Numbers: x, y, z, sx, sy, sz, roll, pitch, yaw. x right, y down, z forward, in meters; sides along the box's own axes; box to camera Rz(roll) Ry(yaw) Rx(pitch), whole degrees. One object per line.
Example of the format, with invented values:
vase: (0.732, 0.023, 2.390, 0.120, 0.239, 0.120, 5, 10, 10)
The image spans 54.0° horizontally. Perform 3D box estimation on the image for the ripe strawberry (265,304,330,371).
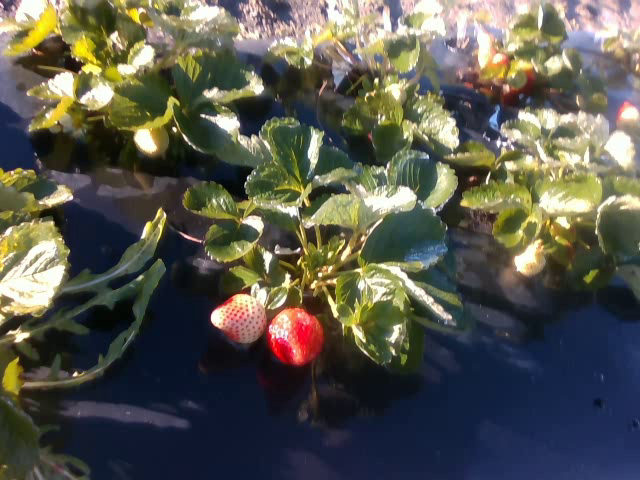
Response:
ripe strawberry: (-0.012, 0.062, 0.376, 0.040, 0.037, 0.056, -18, 5, -1)
